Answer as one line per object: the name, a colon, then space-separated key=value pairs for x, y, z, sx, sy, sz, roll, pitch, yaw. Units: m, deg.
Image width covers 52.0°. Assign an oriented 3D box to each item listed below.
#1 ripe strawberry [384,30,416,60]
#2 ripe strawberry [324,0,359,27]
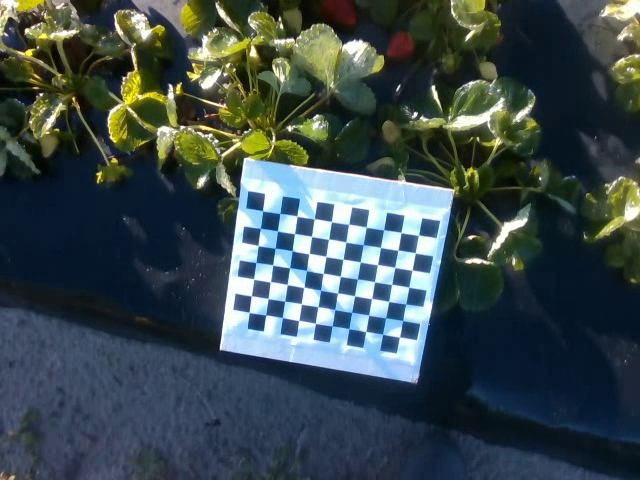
ripe strawberry: x=0.105 y=-0.253 z=0.866 sx=0.047 sy=0.039 sz=0.040 roll=-43 pitch=4 yaw=-8
ripe strawberry: x=0.028 y=-0.308 z=0.875 sx=0.044 sy=0.056 sz=0.040 roll=-32 pitch=5 yaw=2
